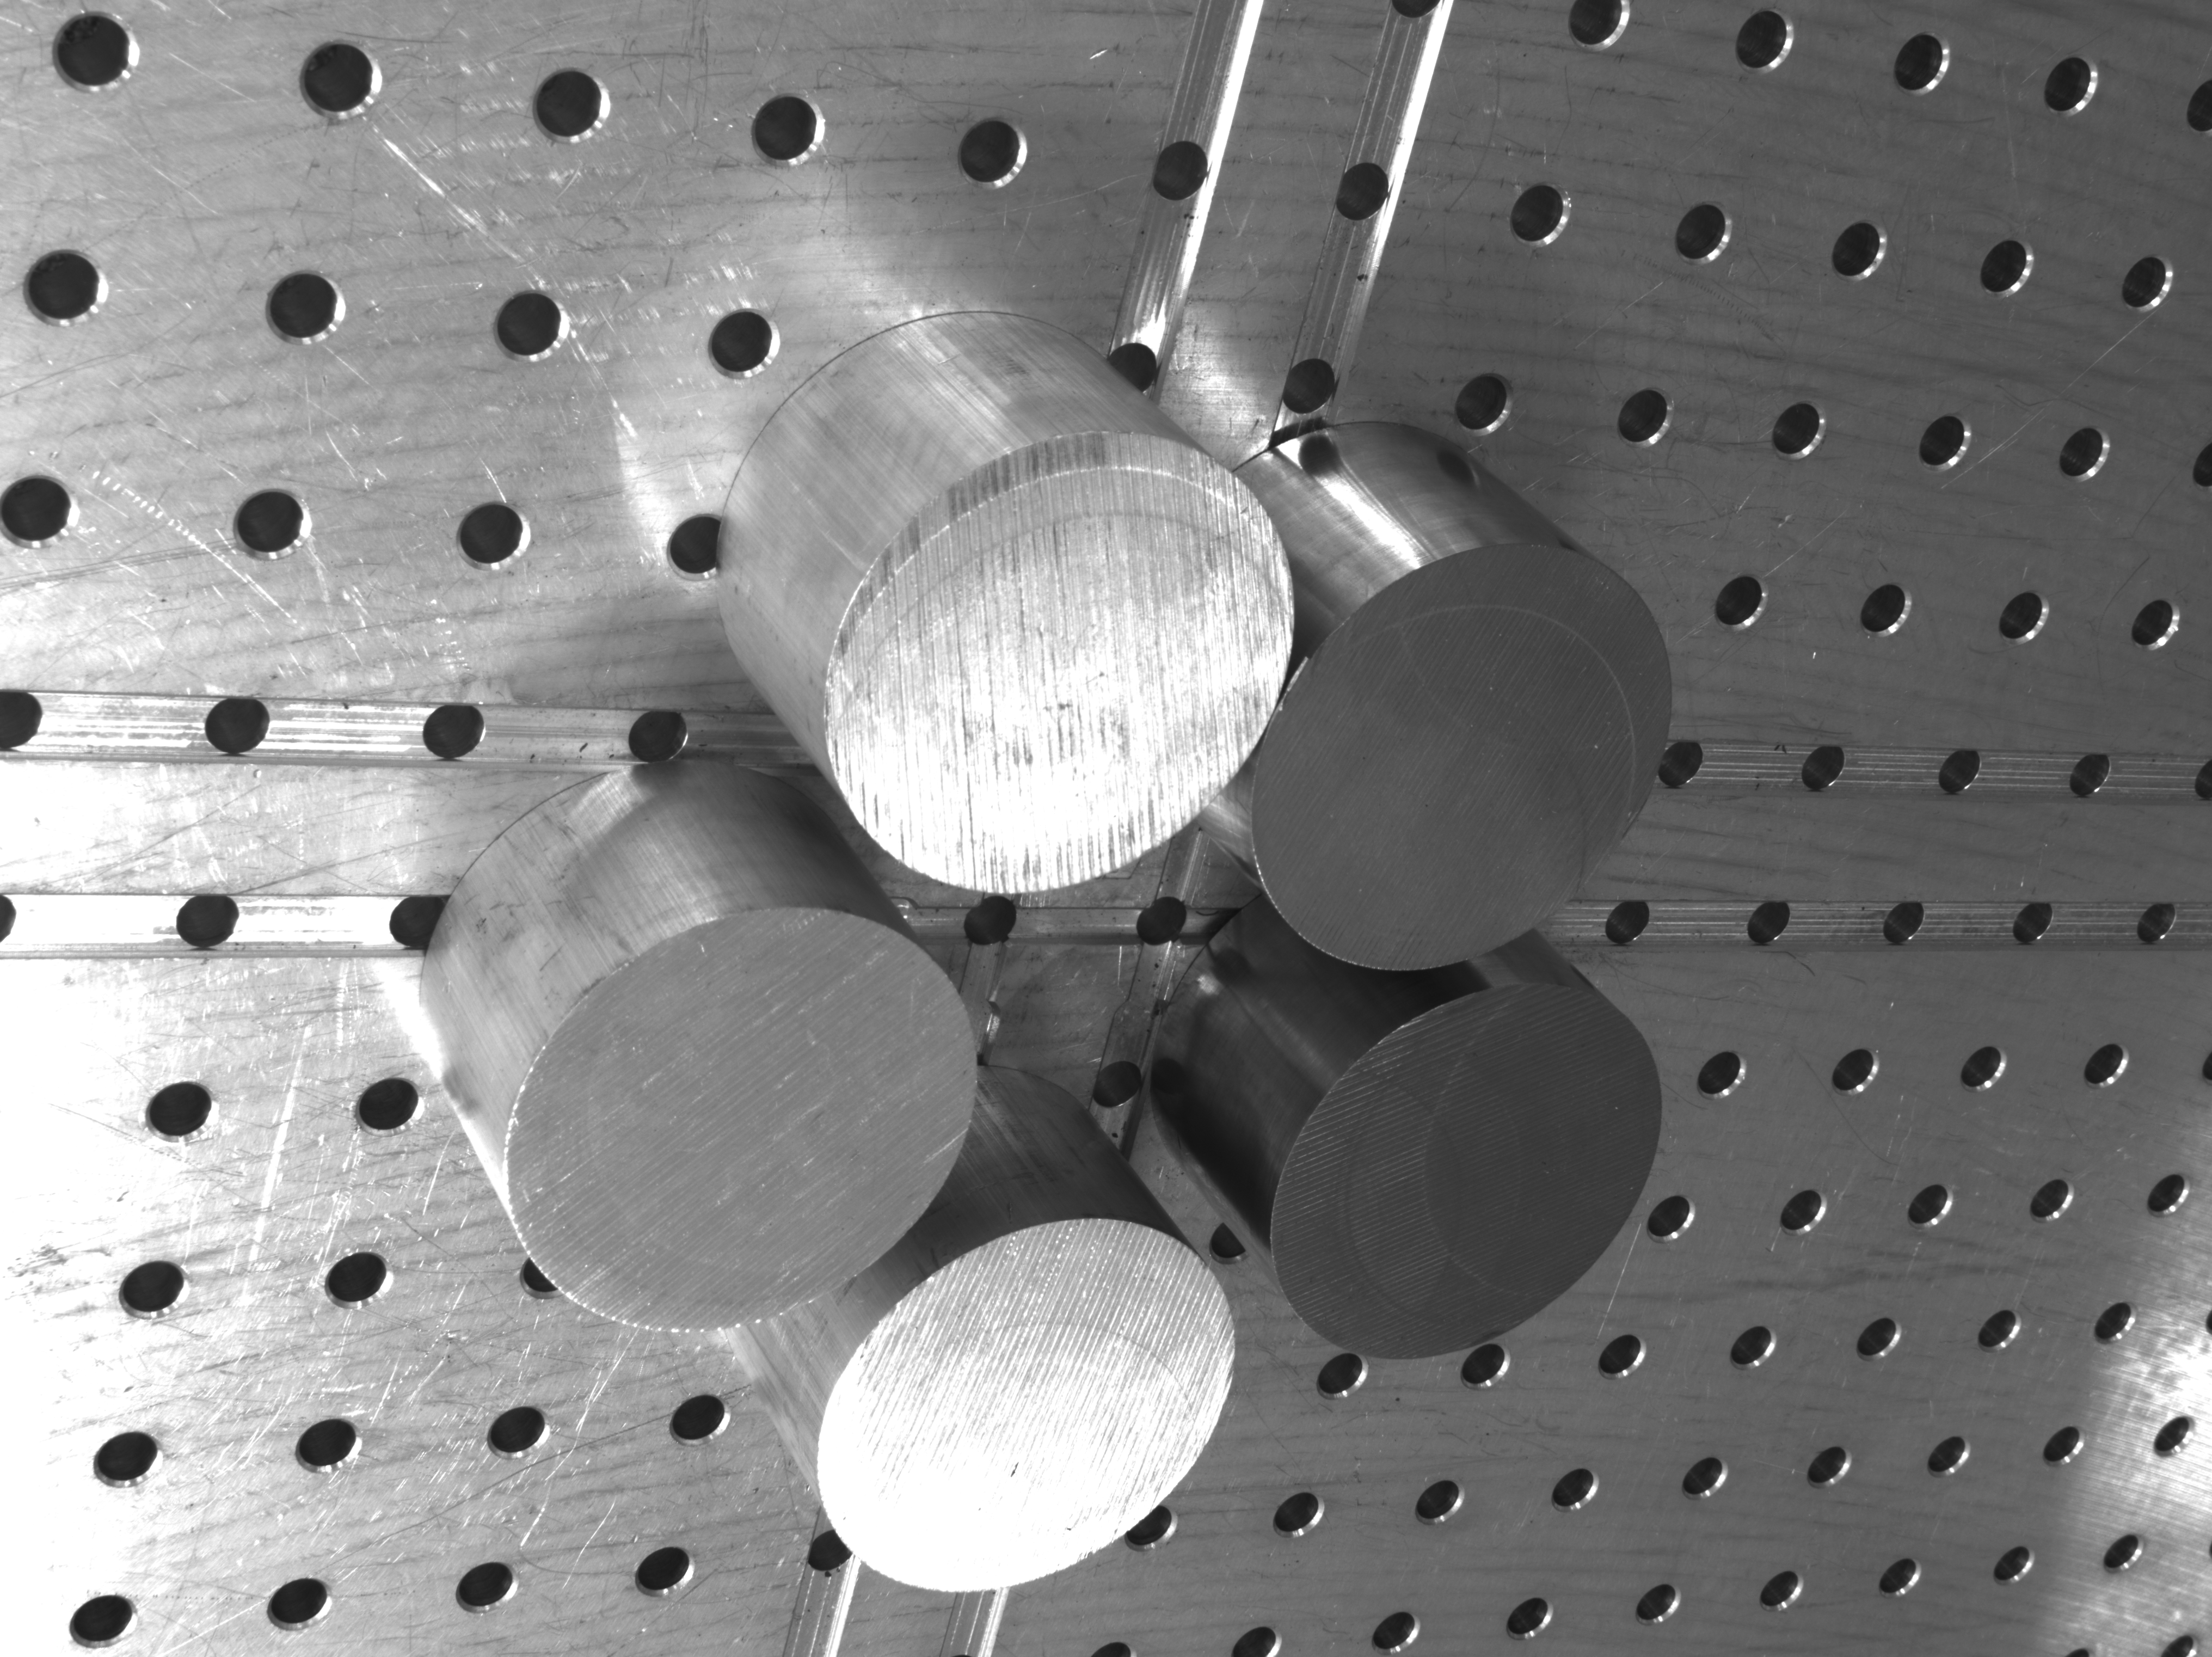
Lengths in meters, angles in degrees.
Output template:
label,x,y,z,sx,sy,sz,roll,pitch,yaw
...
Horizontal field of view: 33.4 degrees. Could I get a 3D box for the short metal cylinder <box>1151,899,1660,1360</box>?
label,x,y,z,sx,sy,sz,roll,pitch,yaw
short metal cylinder,0.055,0.051,0.684,0.080,0.050,0.080,-14,125,-20

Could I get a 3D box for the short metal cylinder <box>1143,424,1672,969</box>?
label,x,y,z,sx,sy,sz,roll,pitch,yaw
short metal cylinder,0.050,-0.023,0.636,0.080,0.050,0.080,-13,124,-21

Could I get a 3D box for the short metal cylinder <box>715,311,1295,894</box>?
label,x,y,z,sx,sy,sz,roll,pitch,yaw
short metal cylinder,-0.017,-0.037,0.593,0.080,0.050,0.080,-14,124,-21

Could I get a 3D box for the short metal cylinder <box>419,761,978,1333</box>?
label,x,y,z,sx,sy,sz,roll,pitch,yaw
short metal cylinder,-0.068,0.036,0.610,0.080,0.050,0.080,-14,124,-21

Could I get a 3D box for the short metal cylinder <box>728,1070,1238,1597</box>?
label,x,y,z,sx,sy,sz,roll,pitch,yaw
short metal cylinder,-0.023,0.091,0.666,0.080,0.050,0.080,-13,123,-20
